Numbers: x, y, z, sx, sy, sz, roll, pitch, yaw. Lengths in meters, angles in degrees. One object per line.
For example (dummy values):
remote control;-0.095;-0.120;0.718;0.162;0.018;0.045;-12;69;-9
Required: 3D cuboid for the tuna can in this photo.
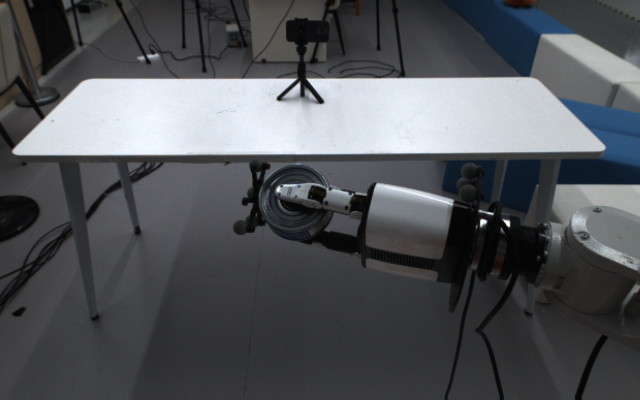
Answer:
tuna can;-0.023;0.005;0.557;0.085;0.034;0.085;-2;69;6
